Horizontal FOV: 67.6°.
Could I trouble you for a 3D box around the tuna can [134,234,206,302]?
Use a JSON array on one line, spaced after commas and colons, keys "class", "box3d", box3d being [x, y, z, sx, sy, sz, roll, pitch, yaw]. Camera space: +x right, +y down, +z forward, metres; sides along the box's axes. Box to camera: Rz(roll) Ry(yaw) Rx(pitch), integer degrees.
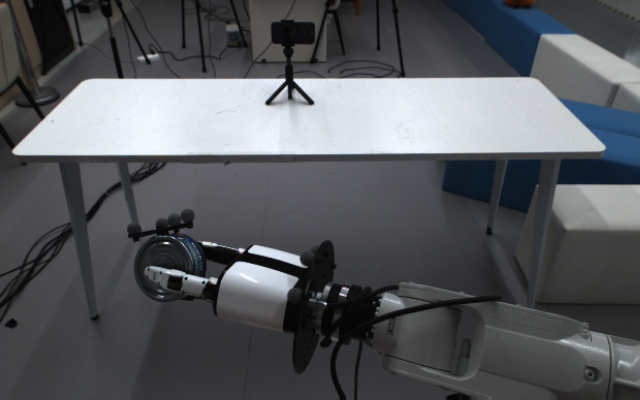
[{"class": "tuna can", "box3d": [-0.188, 0.092, 0.612, 0.085, 0.085, 0.034, 12, 3, 14]}]
